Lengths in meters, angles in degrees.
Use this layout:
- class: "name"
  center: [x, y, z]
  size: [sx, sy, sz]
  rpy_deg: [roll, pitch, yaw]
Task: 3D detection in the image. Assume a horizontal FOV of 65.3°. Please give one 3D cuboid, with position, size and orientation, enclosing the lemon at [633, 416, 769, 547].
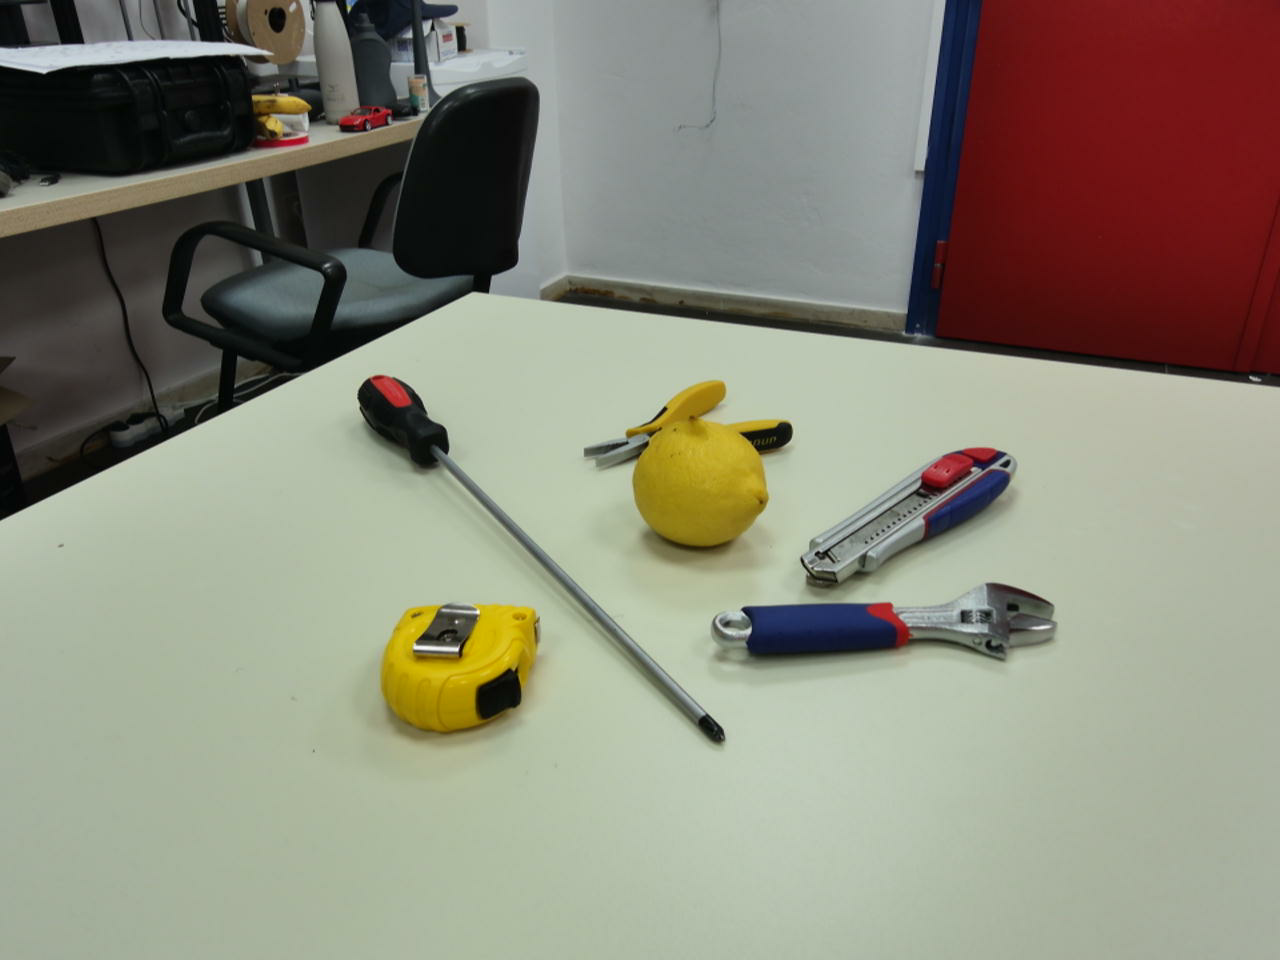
- class: "lemon"
  center: [0.032, -0.001, 0.535]
  size: [0.070, 0.071, 0.071]
  rpy_deg: [-4, 25, -8]
